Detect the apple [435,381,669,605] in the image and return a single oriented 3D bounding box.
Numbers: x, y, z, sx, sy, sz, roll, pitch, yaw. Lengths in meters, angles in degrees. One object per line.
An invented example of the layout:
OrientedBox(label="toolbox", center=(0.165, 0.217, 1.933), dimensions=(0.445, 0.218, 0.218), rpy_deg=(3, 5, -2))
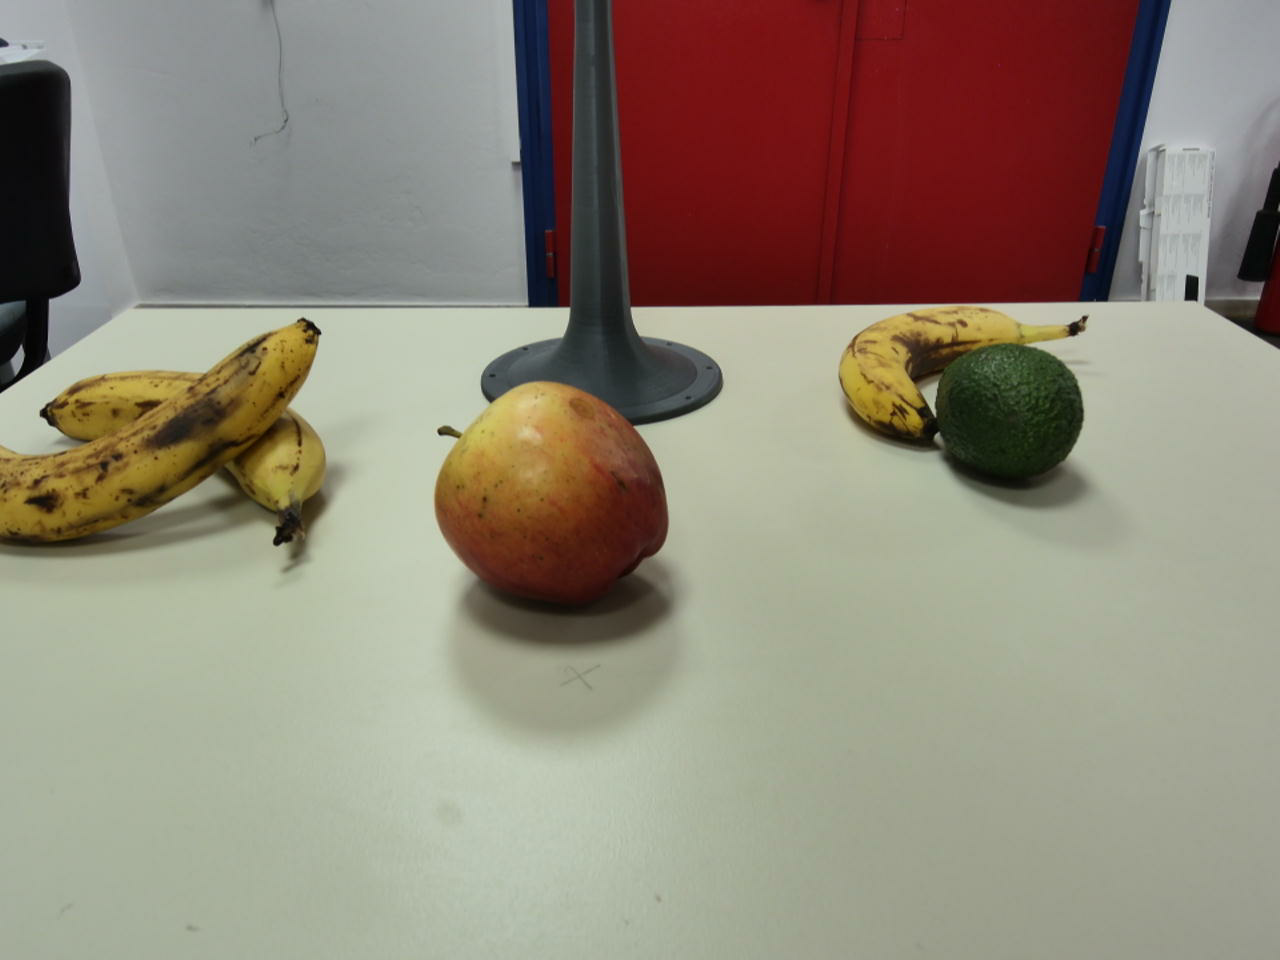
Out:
OrientedBox(label="apple", center=(-0.037, 0.005, 0.399), dimensions=(0.086, 0.084, 0.093), rpy_deg=(-16, 29, -32))
